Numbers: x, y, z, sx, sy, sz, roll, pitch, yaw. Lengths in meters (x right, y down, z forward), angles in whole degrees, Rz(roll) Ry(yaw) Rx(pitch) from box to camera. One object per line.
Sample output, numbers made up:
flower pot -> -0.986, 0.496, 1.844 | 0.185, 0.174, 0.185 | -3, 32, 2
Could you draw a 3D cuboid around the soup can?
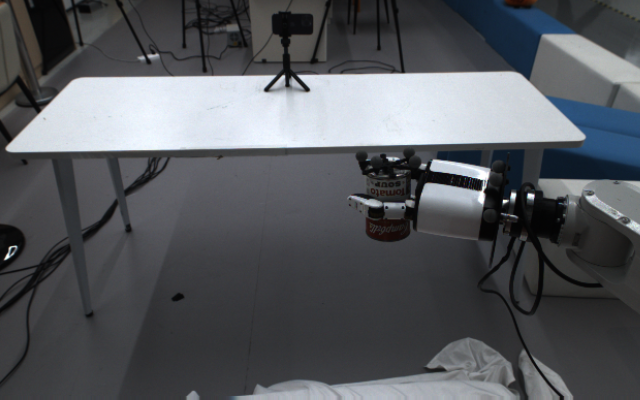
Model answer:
soup can -> 0.100, 0.000, 0.709 | 0.067, 0.101, 0.067 | -3, 26, 2
